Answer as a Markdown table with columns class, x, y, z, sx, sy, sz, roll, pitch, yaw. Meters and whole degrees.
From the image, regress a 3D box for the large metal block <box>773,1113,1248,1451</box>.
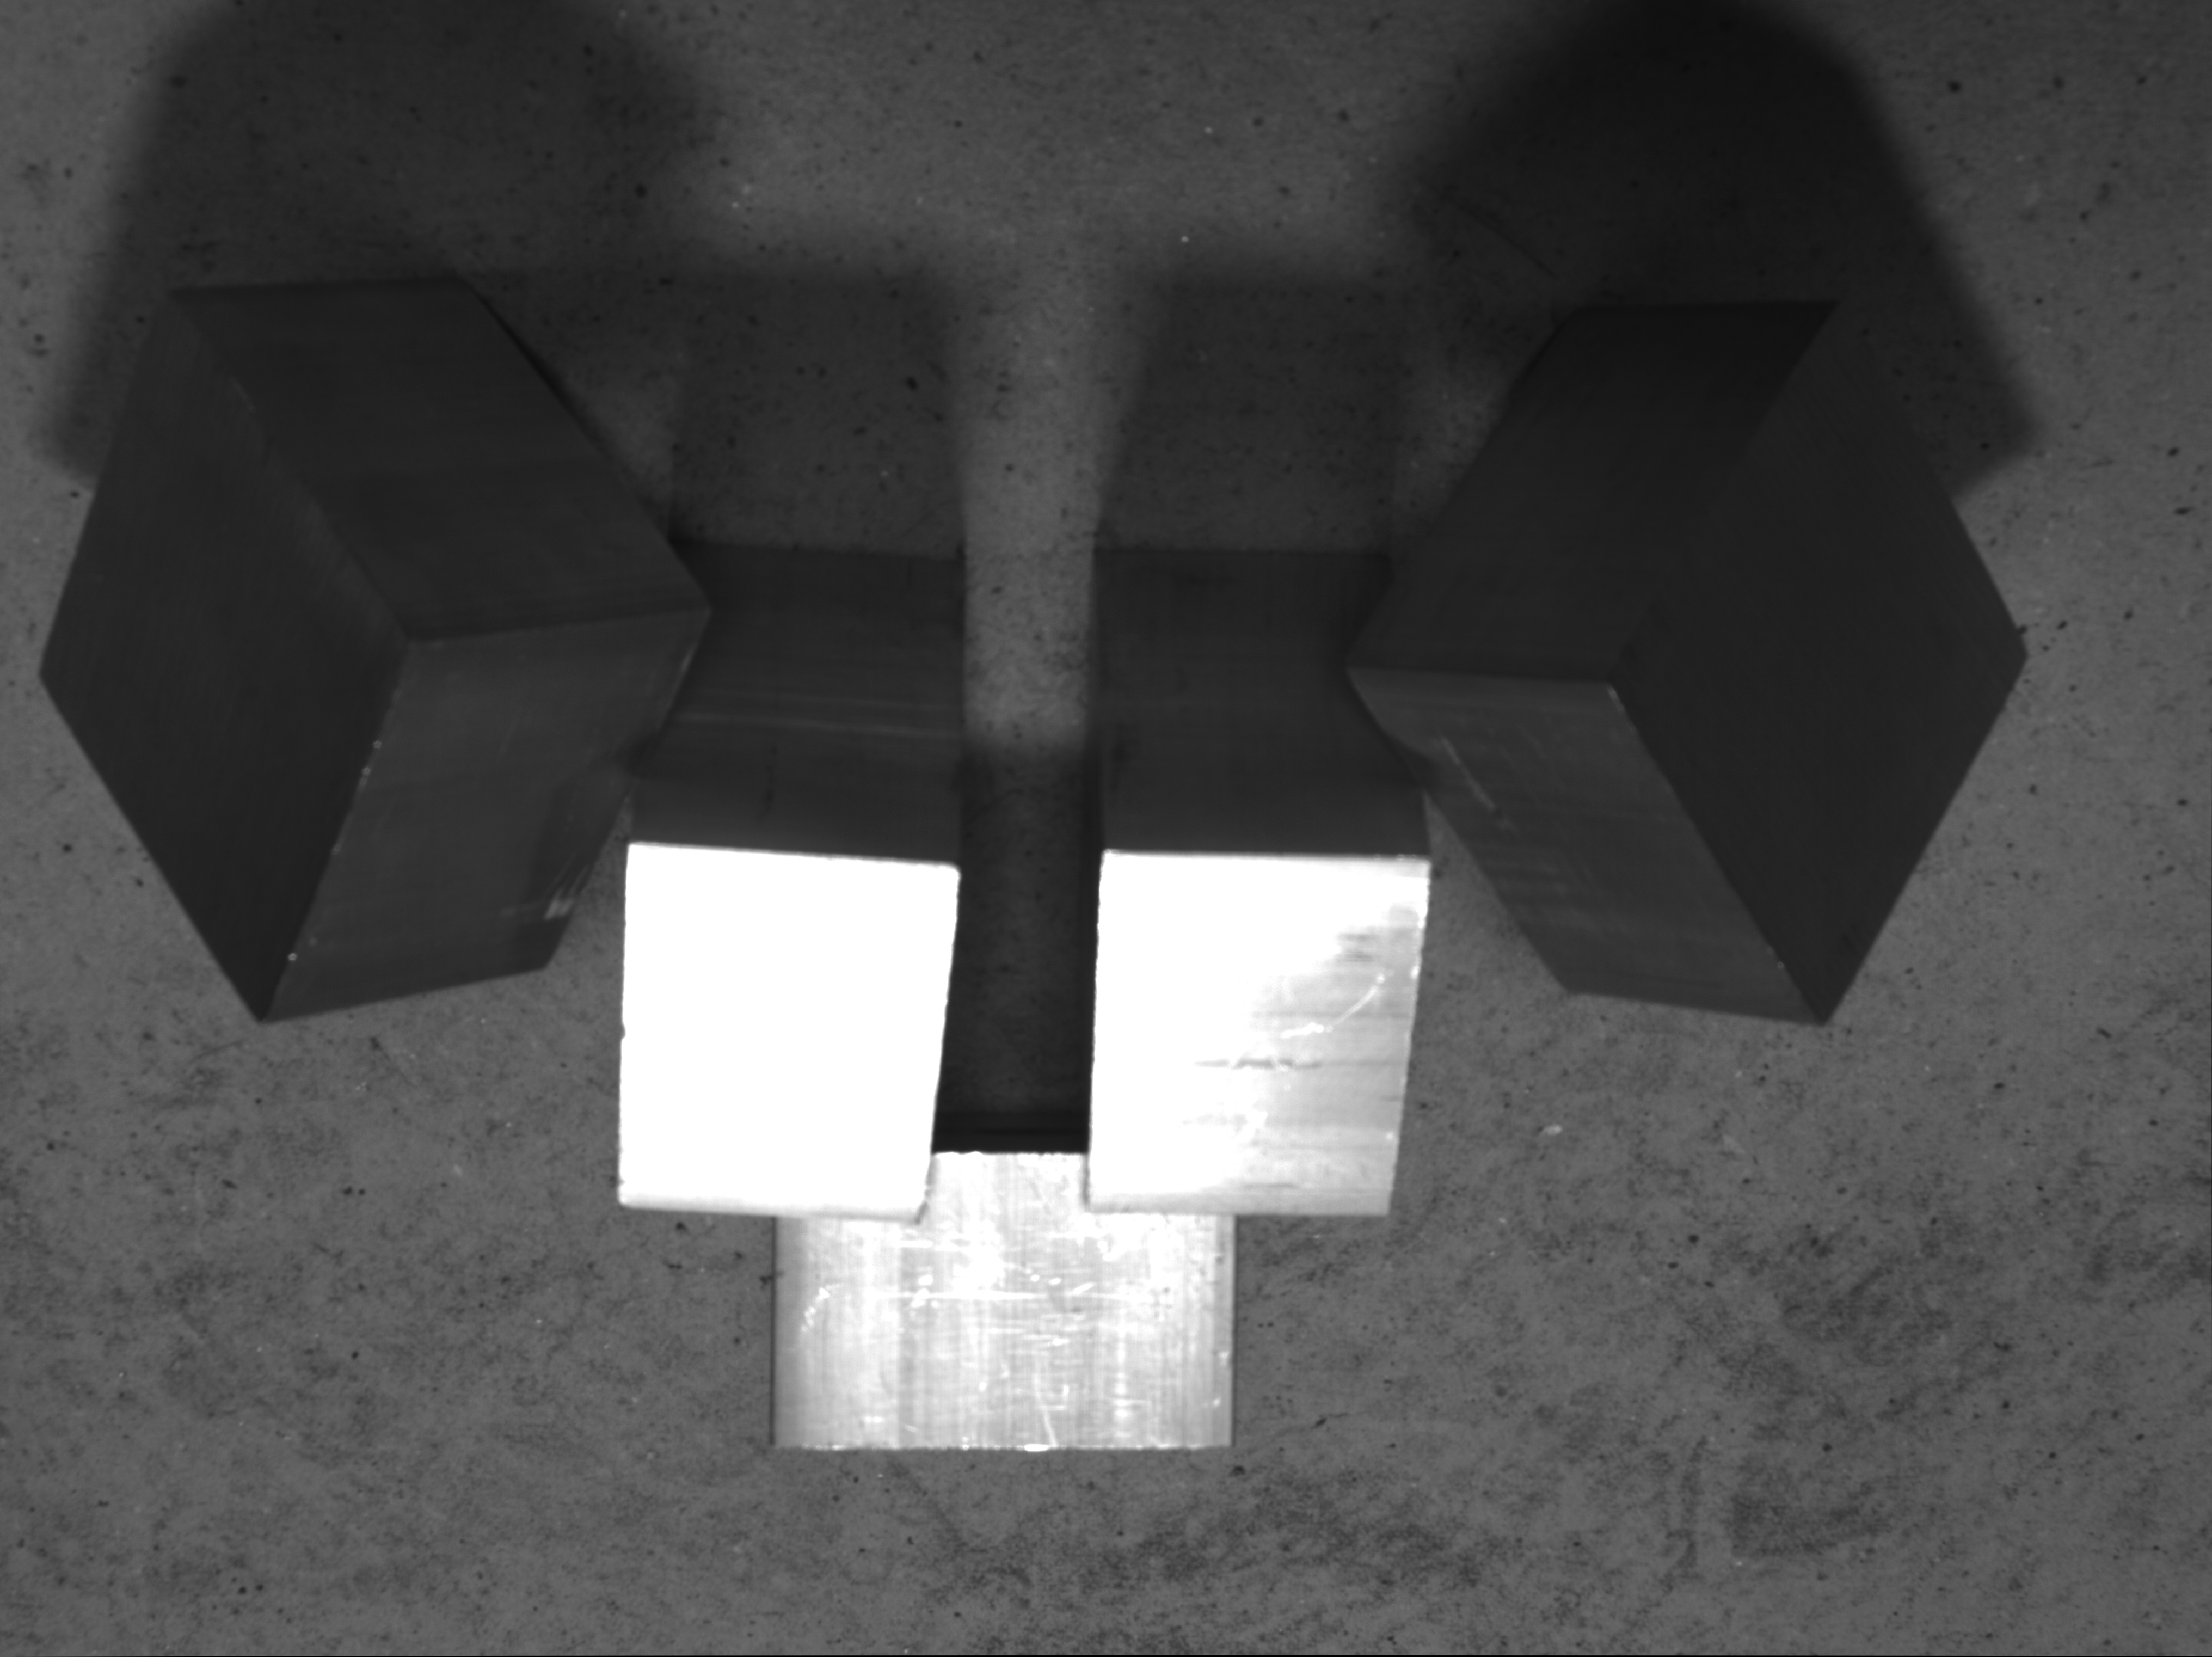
| class | x | y | z | sx | sy | sz | roll | pitch | yaw |
| --- | --- | --- | --- | --- | --- | --- | --- | --- | --- |
| large metal block | -0.017 | 0.080 | 0.661 | 0.080 | 0.080 | 0.050 | 1 | 91 | -2 |

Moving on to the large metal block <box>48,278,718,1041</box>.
| class | x | y | z | sx | sy | sz | roll | pitch | yaw |
| --- | --- | --- | --- | --- | --- | --- | --- | --- | --- |
| large metal block | -0.114 | -0.027 | 0.564 | 0.050 | 0.080 | 0.080 | -11 | 142 | -42 |

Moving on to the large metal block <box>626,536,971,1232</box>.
| class | x | y | z | sx | sy | sz | roll | pitch | yaw |
| --- | --- | --- | --- | --- | --- | --- | --- | --- | --- |
| large metal block | -0.051 | 0.009 | 0.609 | 0.050 | 0.080 | 0.080 | 4 | 130 | -5 |

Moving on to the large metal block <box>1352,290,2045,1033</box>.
| class | x | y | z | sx | sy | sz | roll | pitch | yaw |
| --- | --- | --- | --- | --- | --- | --- | --- | --- | --- |
| large metal block | 0.095 | -0.027 | 0.575 | 0.050 | 0.080 | 0.080 | 6 | 143 | 45 |

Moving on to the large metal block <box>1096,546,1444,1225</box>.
| class | x | y | z | sx | sy | sz | roll | pitch | yaw |
| --- | --- | --- | --- | --- | --- | --- | --- | --- | --- |
| large metal block | 0.024 | 0.009 | 0.611 | 0.050 | 0.080 | 0.080 | 1 | 130 | -2 |
